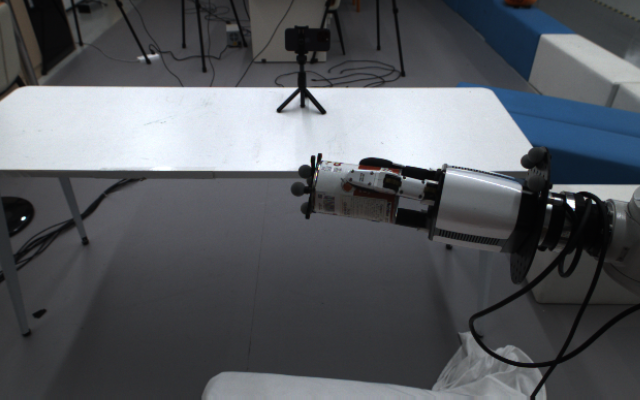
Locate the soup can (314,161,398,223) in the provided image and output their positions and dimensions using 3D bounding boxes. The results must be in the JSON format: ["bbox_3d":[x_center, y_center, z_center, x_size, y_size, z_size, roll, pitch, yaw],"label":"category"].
[{"bbox_3d":[0.049,-0.011,0.597,0.101,0.067,0.067,7,35,10],"label":"soup can"}]
